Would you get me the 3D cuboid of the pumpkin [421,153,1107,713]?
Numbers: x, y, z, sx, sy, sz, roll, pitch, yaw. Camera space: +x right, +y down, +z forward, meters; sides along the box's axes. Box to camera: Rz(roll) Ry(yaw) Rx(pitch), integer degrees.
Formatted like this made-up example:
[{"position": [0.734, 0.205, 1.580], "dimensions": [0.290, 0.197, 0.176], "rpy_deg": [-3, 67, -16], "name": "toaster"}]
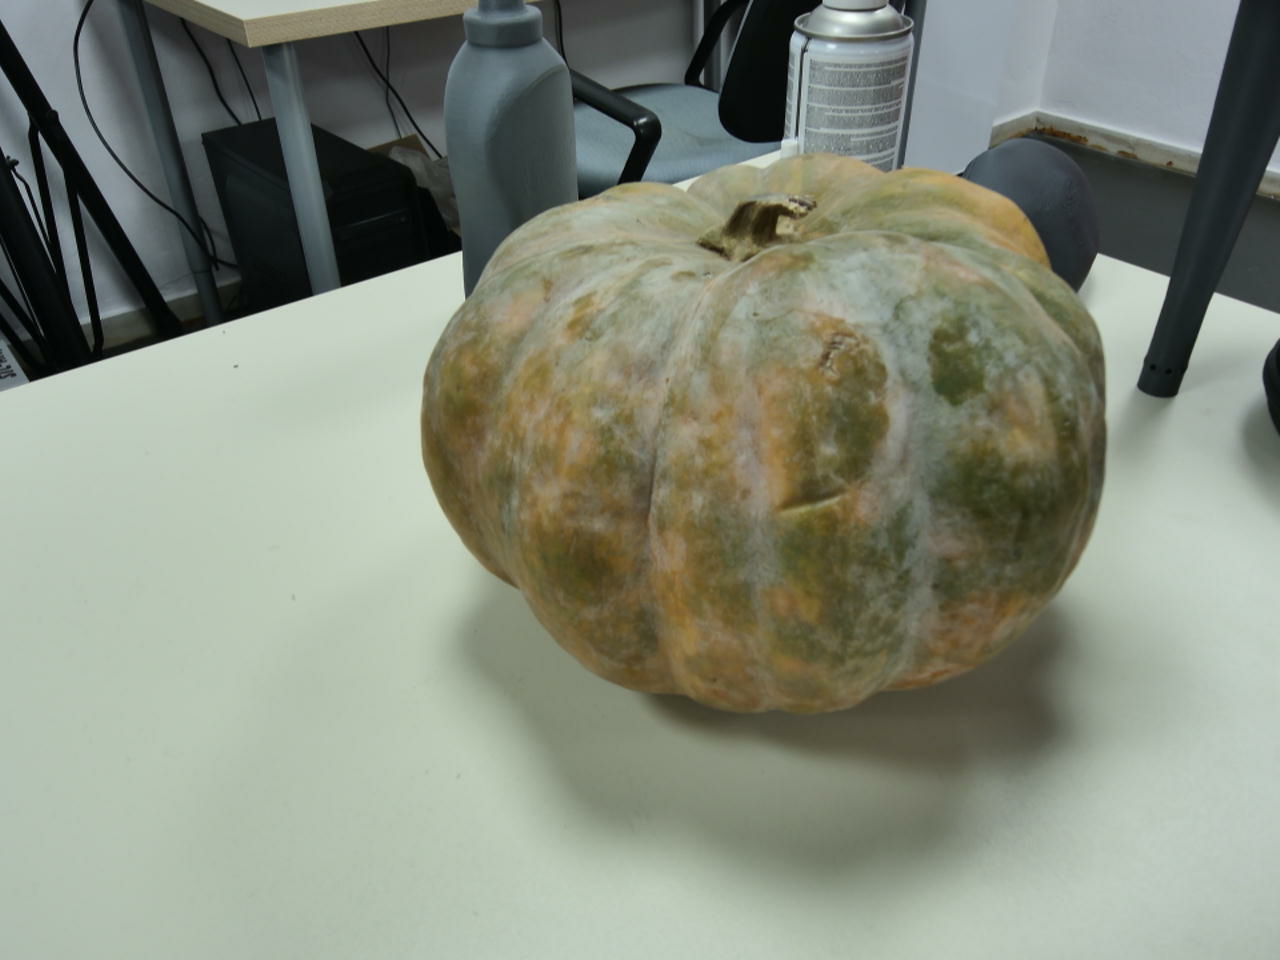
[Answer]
[{"position": [0.045, -0.027, 0.375], "dimensions": [0.252, 0.169, 0.251], "rpy_deg": [0, 35, 0], "name": "pumpkin"}]
